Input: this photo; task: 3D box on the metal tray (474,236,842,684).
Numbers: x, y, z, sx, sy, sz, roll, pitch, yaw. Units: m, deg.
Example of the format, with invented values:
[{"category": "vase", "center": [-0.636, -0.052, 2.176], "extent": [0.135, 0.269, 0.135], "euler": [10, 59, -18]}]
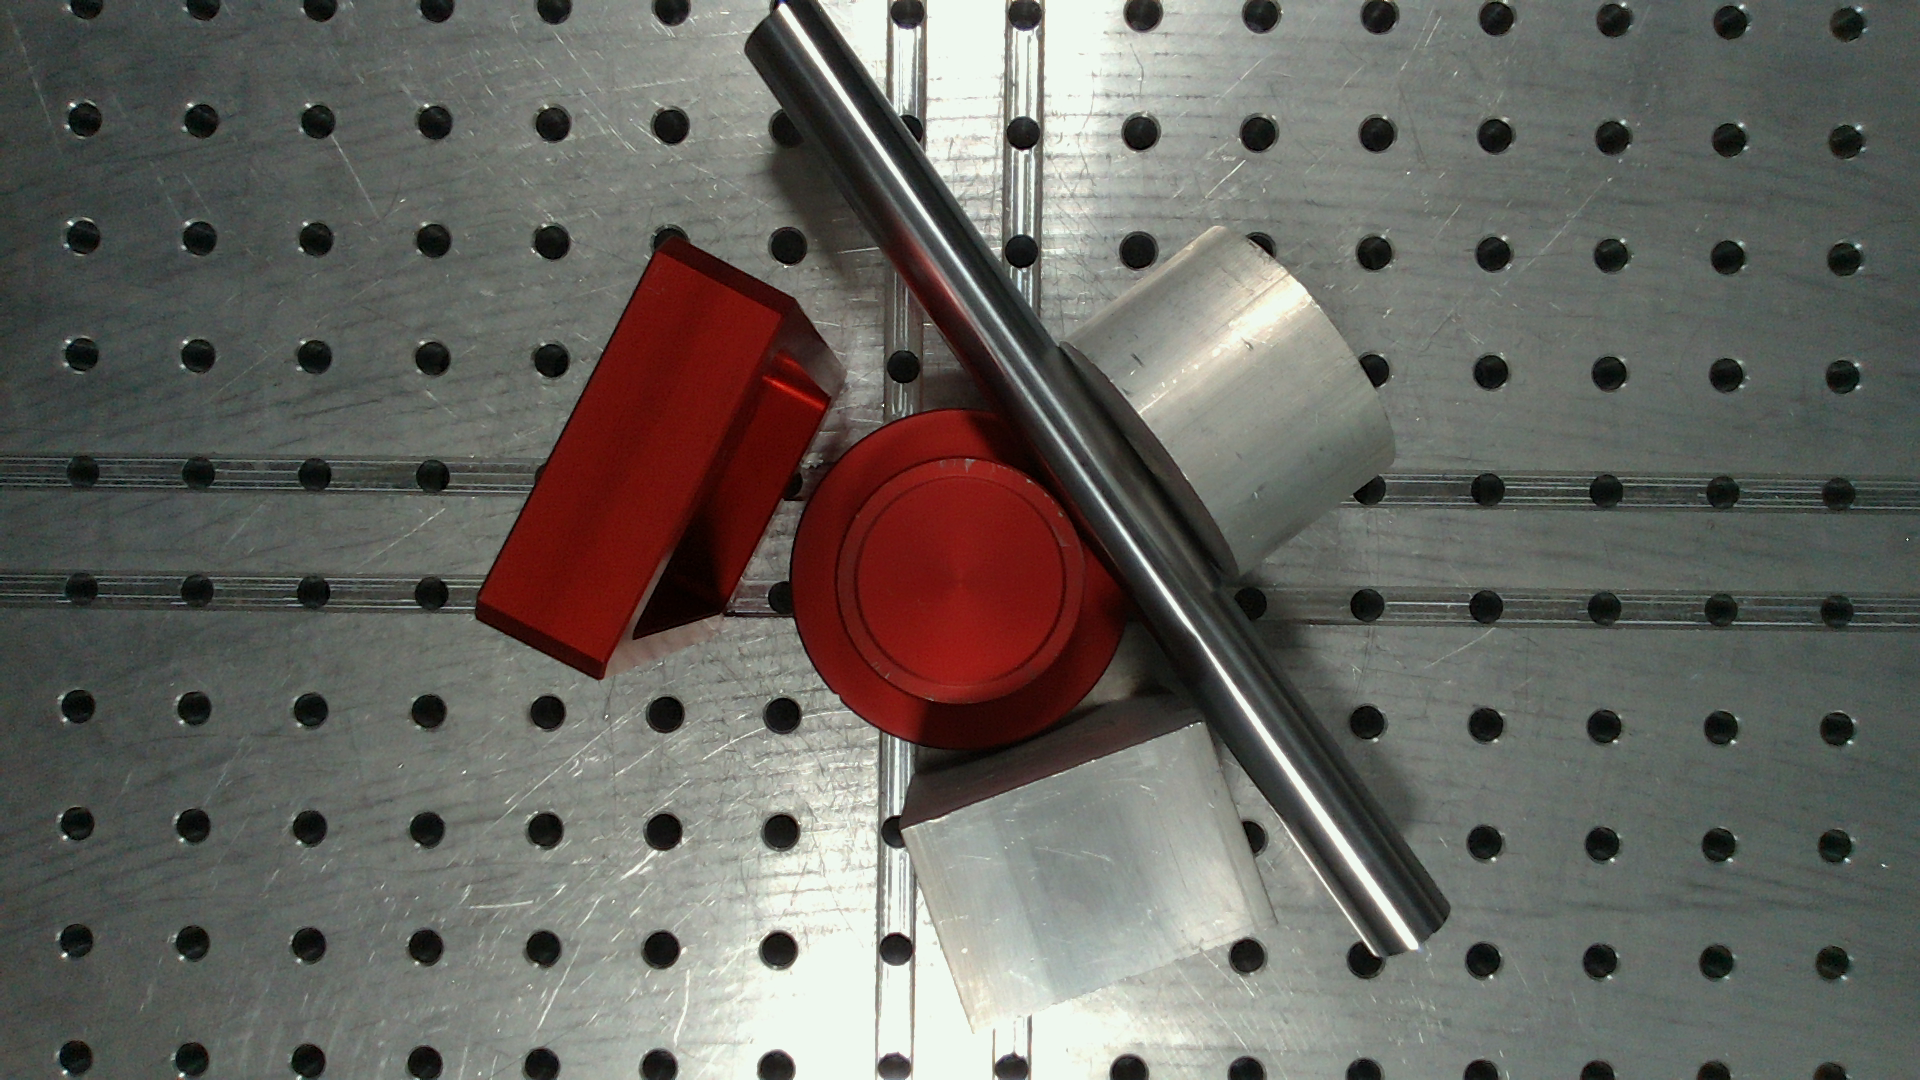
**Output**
[{"category": "metal tray", "center": [-0.067, -0.017, 0.345], "extent": [0.030, 0.130, 0.090], "euler": [27, 90, 0]}]

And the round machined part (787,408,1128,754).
[{"category": "round machined part", "center": [0.000, 0.012, 0.389], "extent": [0.098, 0.042, 0.098], "euler": [0, 90, 0]}]

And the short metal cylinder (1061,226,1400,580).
[{"category": "short metal cylinder", "center": [0.071, -0.036, 0.369], "extent": [0.050, 0.080, 0.080], "euler": [-37, 90, 0]}]

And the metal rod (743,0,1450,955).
[{"category": "metal rod", "center": [0.037, -0.017, 0.377], "extent": [0.025, 0.025, 0.300], "euler": [-35, 90, 0]}]

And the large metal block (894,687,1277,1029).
[{"category": "large metal block", "center": [0.030, 0.081, 0.371], "extent": [0.080, 0.080, 0.050], "euler": [-19, 90, 0]}]
